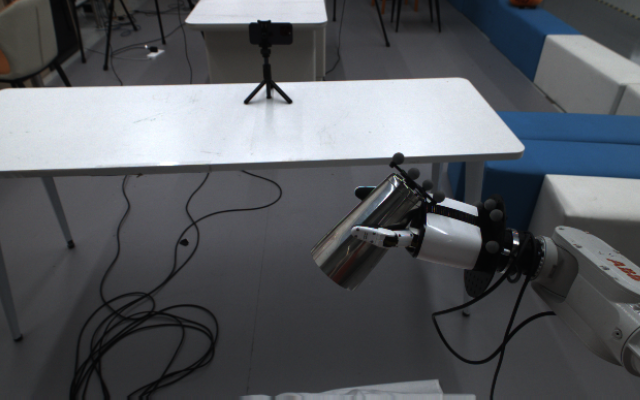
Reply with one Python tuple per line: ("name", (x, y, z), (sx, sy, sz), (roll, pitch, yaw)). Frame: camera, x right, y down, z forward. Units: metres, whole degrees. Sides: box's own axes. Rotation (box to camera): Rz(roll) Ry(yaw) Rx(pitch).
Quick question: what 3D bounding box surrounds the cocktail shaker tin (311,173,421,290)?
("cocktail shaker tin", (0.076, 0.038, 0.725), (0.093, 0.170, 0.093), (41, 13, -11))
